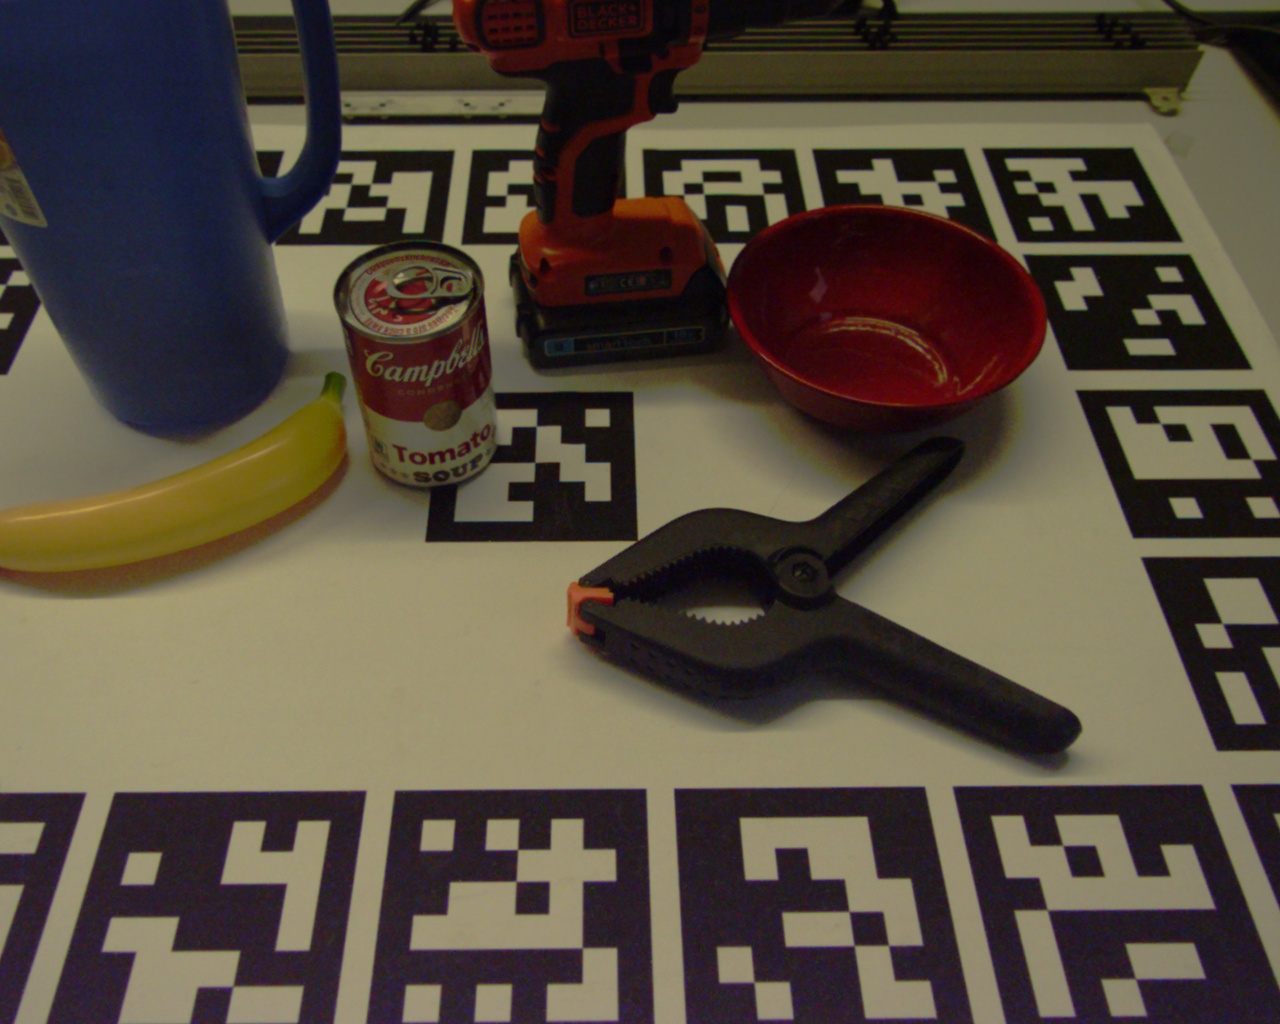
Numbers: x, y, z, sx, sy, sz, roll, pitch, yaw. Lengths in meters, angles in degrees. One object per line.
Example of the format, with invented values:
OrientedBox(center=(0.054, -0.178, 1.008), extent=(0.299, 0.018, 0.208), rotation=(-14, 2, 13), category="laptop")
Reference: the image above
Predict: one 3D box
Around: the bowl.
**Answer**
OrientedBox(center=(0.124, -0.100, 0.625), extent=(0.161, 0.055, 0.162), rotation=(-1, 53, 0), category="bowl")

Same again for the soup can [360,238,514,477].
OrientedBox(center=(-0.100, -0.077, 0.578), extent=(0.068, 0.101, 0.068), rotation=(0, 43, 0), category="soup can")

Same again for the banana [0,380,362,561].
OrientedBox(center=(-0.222, -0.014, 0.570), extent=(0.196, 0.038, 0.075), rotation=(-22, 46, -18), category="banana")

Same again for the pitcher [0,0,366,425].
OrientedBox(center=(-0.222, -0.166, 0.559), extent=(0.187, 0.241, 0.135), rotation=(-21, 52, -17), category="pitcher")

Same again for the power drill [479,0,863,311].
OrientedBox(center=(0.014, -0.195, 0.593), extent=(0.184, 0.186, 0.058), rotation=(-5, 52, -5), category="power drill")

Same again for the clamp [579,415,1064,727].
OrientedBox(center=(0.073, 0.027, 0.527), extent=(0.202, 0.036, 0.166), rotation=(-4, 55, -3), category="clamp")
